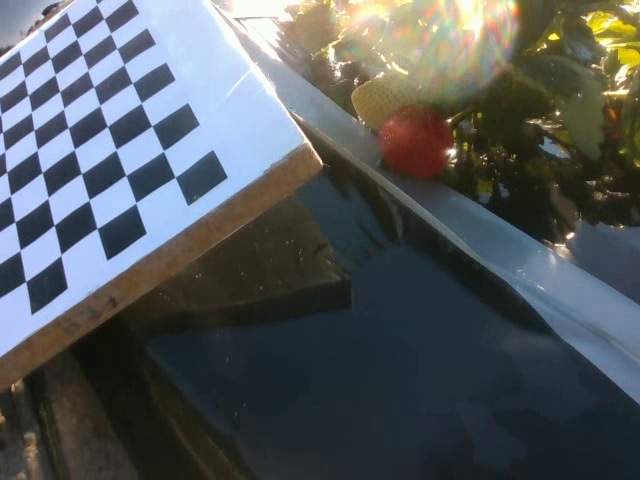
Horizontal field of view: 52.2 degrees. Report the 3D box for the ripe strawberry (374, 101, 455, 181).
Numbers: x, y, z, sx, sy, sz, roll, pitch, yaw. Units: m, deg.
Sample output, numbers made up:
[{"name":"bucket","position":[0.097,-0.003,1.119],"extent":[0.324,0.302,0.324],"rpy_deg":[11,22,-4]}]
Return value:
[{"name":"ripe strawberry","position":[0.048,-0.055,0.354],"extent":[0.045,0.049,0.063],"rpy_deg":[-18,-11,21]}]
